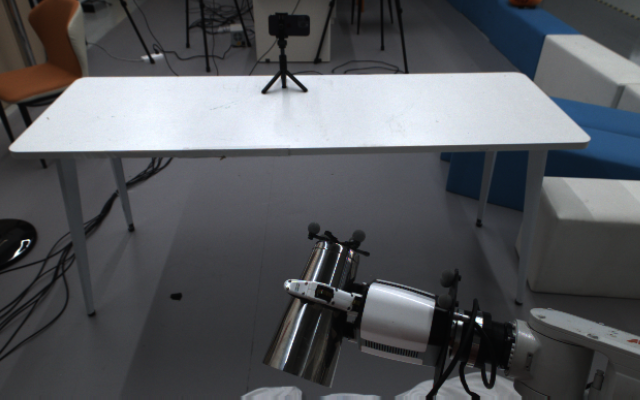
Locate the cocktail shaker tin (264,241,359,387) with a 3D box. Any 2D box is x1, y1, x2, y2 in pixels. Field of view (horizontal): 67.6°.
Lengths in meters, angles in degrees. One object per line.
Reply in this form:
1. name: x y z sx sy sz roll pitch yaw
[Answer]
1. cocktail shaker tin: -0.003 0.145 0.634 0.093 0.093 0.170 13 70 16
